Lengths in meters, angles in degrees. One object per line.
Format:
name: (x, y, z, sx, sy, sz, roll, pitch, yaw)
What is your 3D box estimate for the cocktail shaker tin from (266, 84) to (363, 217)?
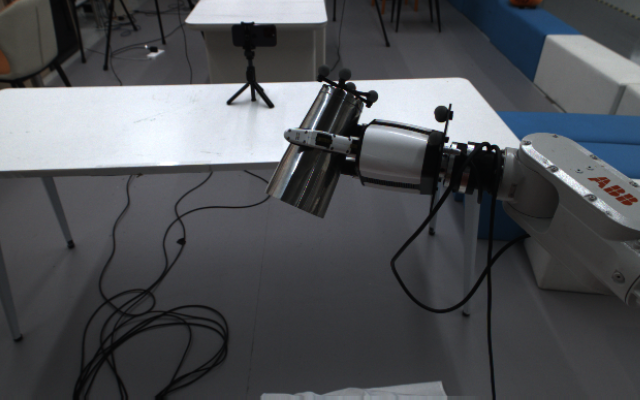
cocktail shaker tin: (-0.001, -0.071, 0.683, 0.093, 0.170, 0.093, 23, 0, 0)
